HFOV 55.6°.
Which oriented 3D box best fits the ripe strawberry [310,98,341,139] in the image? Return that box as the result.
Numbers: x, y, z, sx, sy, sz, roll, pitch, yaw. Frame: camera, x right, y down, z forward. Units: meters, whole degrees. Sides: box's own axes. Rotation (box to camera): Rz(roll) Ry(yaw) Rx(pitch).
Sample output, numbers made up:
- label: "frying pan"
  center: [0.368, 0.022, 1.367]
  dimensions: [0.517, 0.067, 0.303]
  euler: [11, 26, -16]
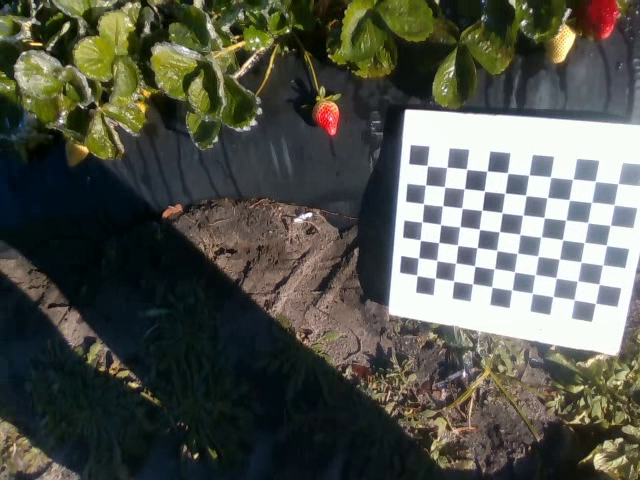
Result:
- label: "ripe strawberry"
  center: [0.011, -0.156, 0.772]
  dimensions: [0.039, 0.053, 0.040]
  euler: [-15, -8, 23]
